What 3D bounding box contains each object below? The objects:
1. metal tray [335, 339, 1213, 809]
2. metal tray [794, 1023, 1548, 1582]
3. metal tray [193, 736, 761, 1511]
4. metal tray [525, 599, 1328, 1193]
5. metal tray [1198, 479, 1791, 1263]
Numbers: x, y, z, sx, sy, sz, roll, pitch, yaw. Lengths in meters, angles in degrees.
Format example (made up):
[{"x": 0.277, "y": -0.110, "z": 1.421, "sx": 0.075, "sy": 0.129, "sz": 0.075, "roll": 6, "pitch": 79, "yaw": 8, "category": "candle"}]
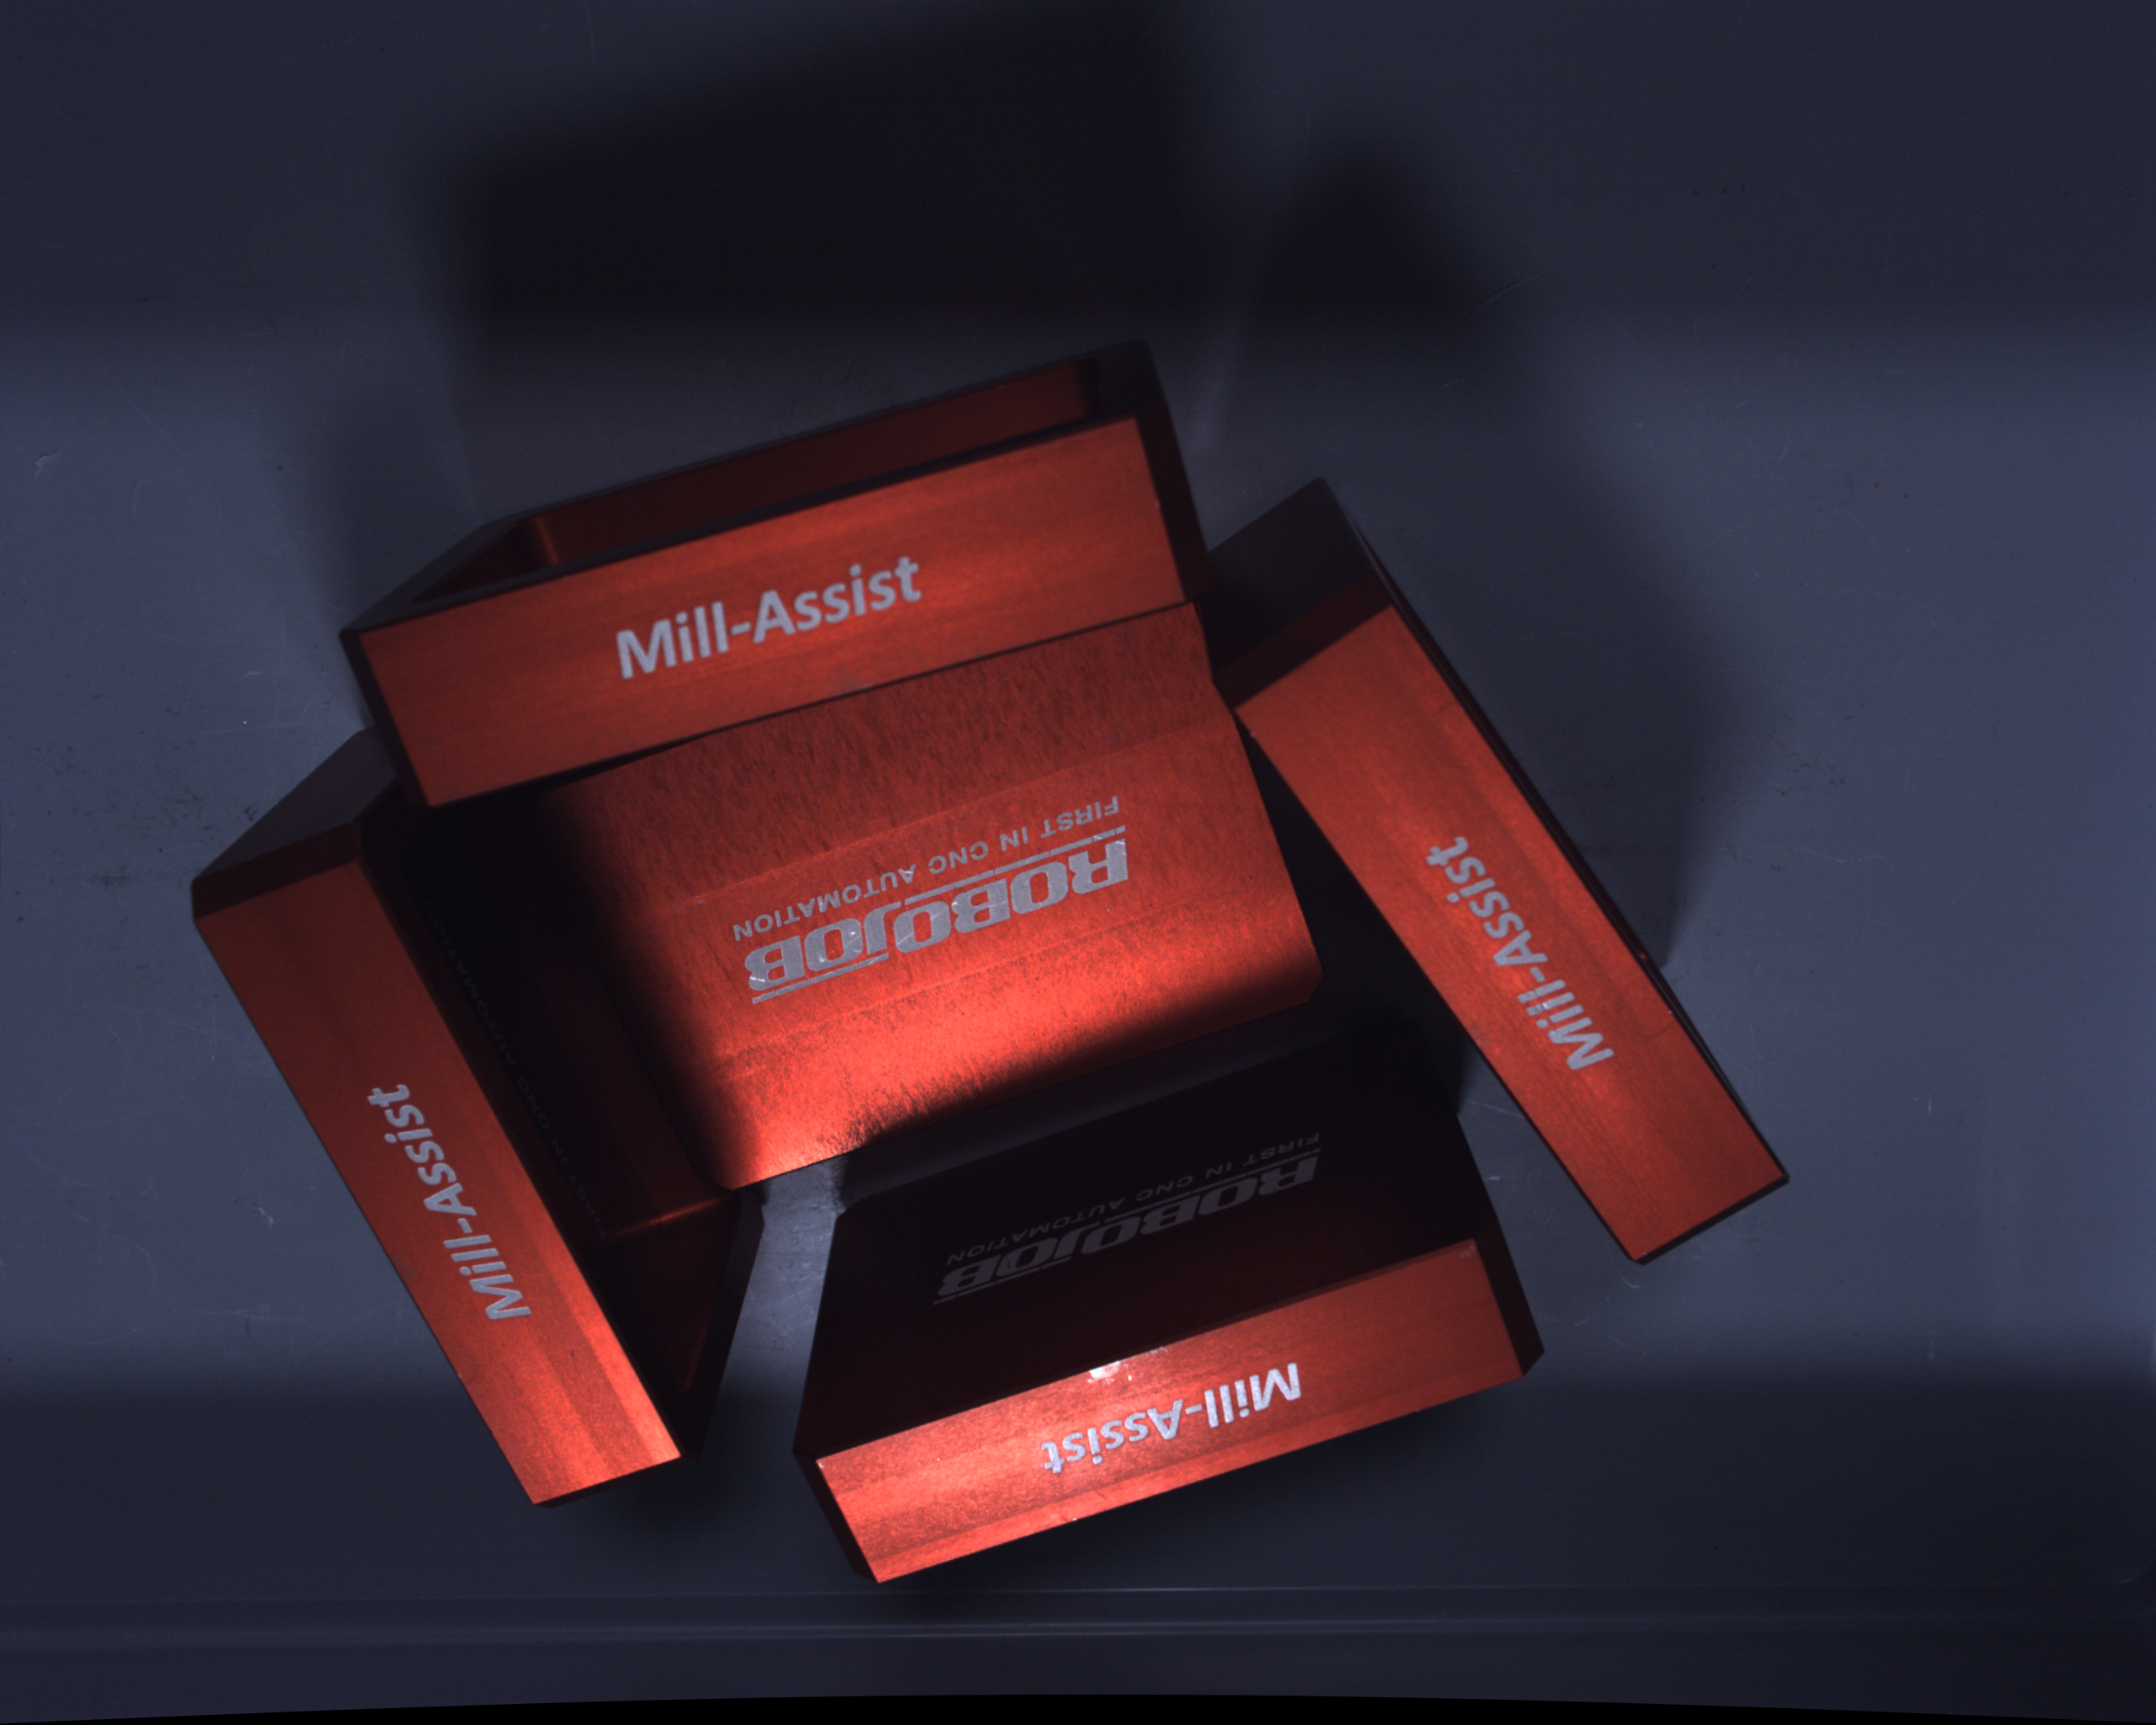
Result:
[{"x": -0.047, "y": -0.052, "z": 0.354, "sx": 0.131, "sy": 0.090, "sz": 0.030, "roll": -15, "pitch": 110, "yaw": 5, "category": "metal tray"}, {"x": 0.016, "y": 0.081, "z": 0.405, "sx": 0.131, "sy": 0.090, "sz": 0.030, "roll": -19, "pitch": 109, "yaw": 6, "category": "metal tray"}, {"x": -0.104, "y": 0.041, "z": 0.388, "sx": 0.030, "sy": 0.090, "sz": 0.129, "roll": -20, "pitch": 109, "yaw": 7, "category": "metal tray"}, {"x": -0.027, "y": 0.002, "z": 0.406, "sx": 0.131, "sy": 0.030, "sz": 0.090, "roll": -19, "pitch": 109, "yaw": 6, "category": "metal tray"}, {"x": 0.071, "y": -0.001, "z": 0.376, "sx": 0.030, "sy": 0.090, "sz": 0.130, "roll": -34, "pitch": 107, "yaw": 12, "category": "metal tray"}]
